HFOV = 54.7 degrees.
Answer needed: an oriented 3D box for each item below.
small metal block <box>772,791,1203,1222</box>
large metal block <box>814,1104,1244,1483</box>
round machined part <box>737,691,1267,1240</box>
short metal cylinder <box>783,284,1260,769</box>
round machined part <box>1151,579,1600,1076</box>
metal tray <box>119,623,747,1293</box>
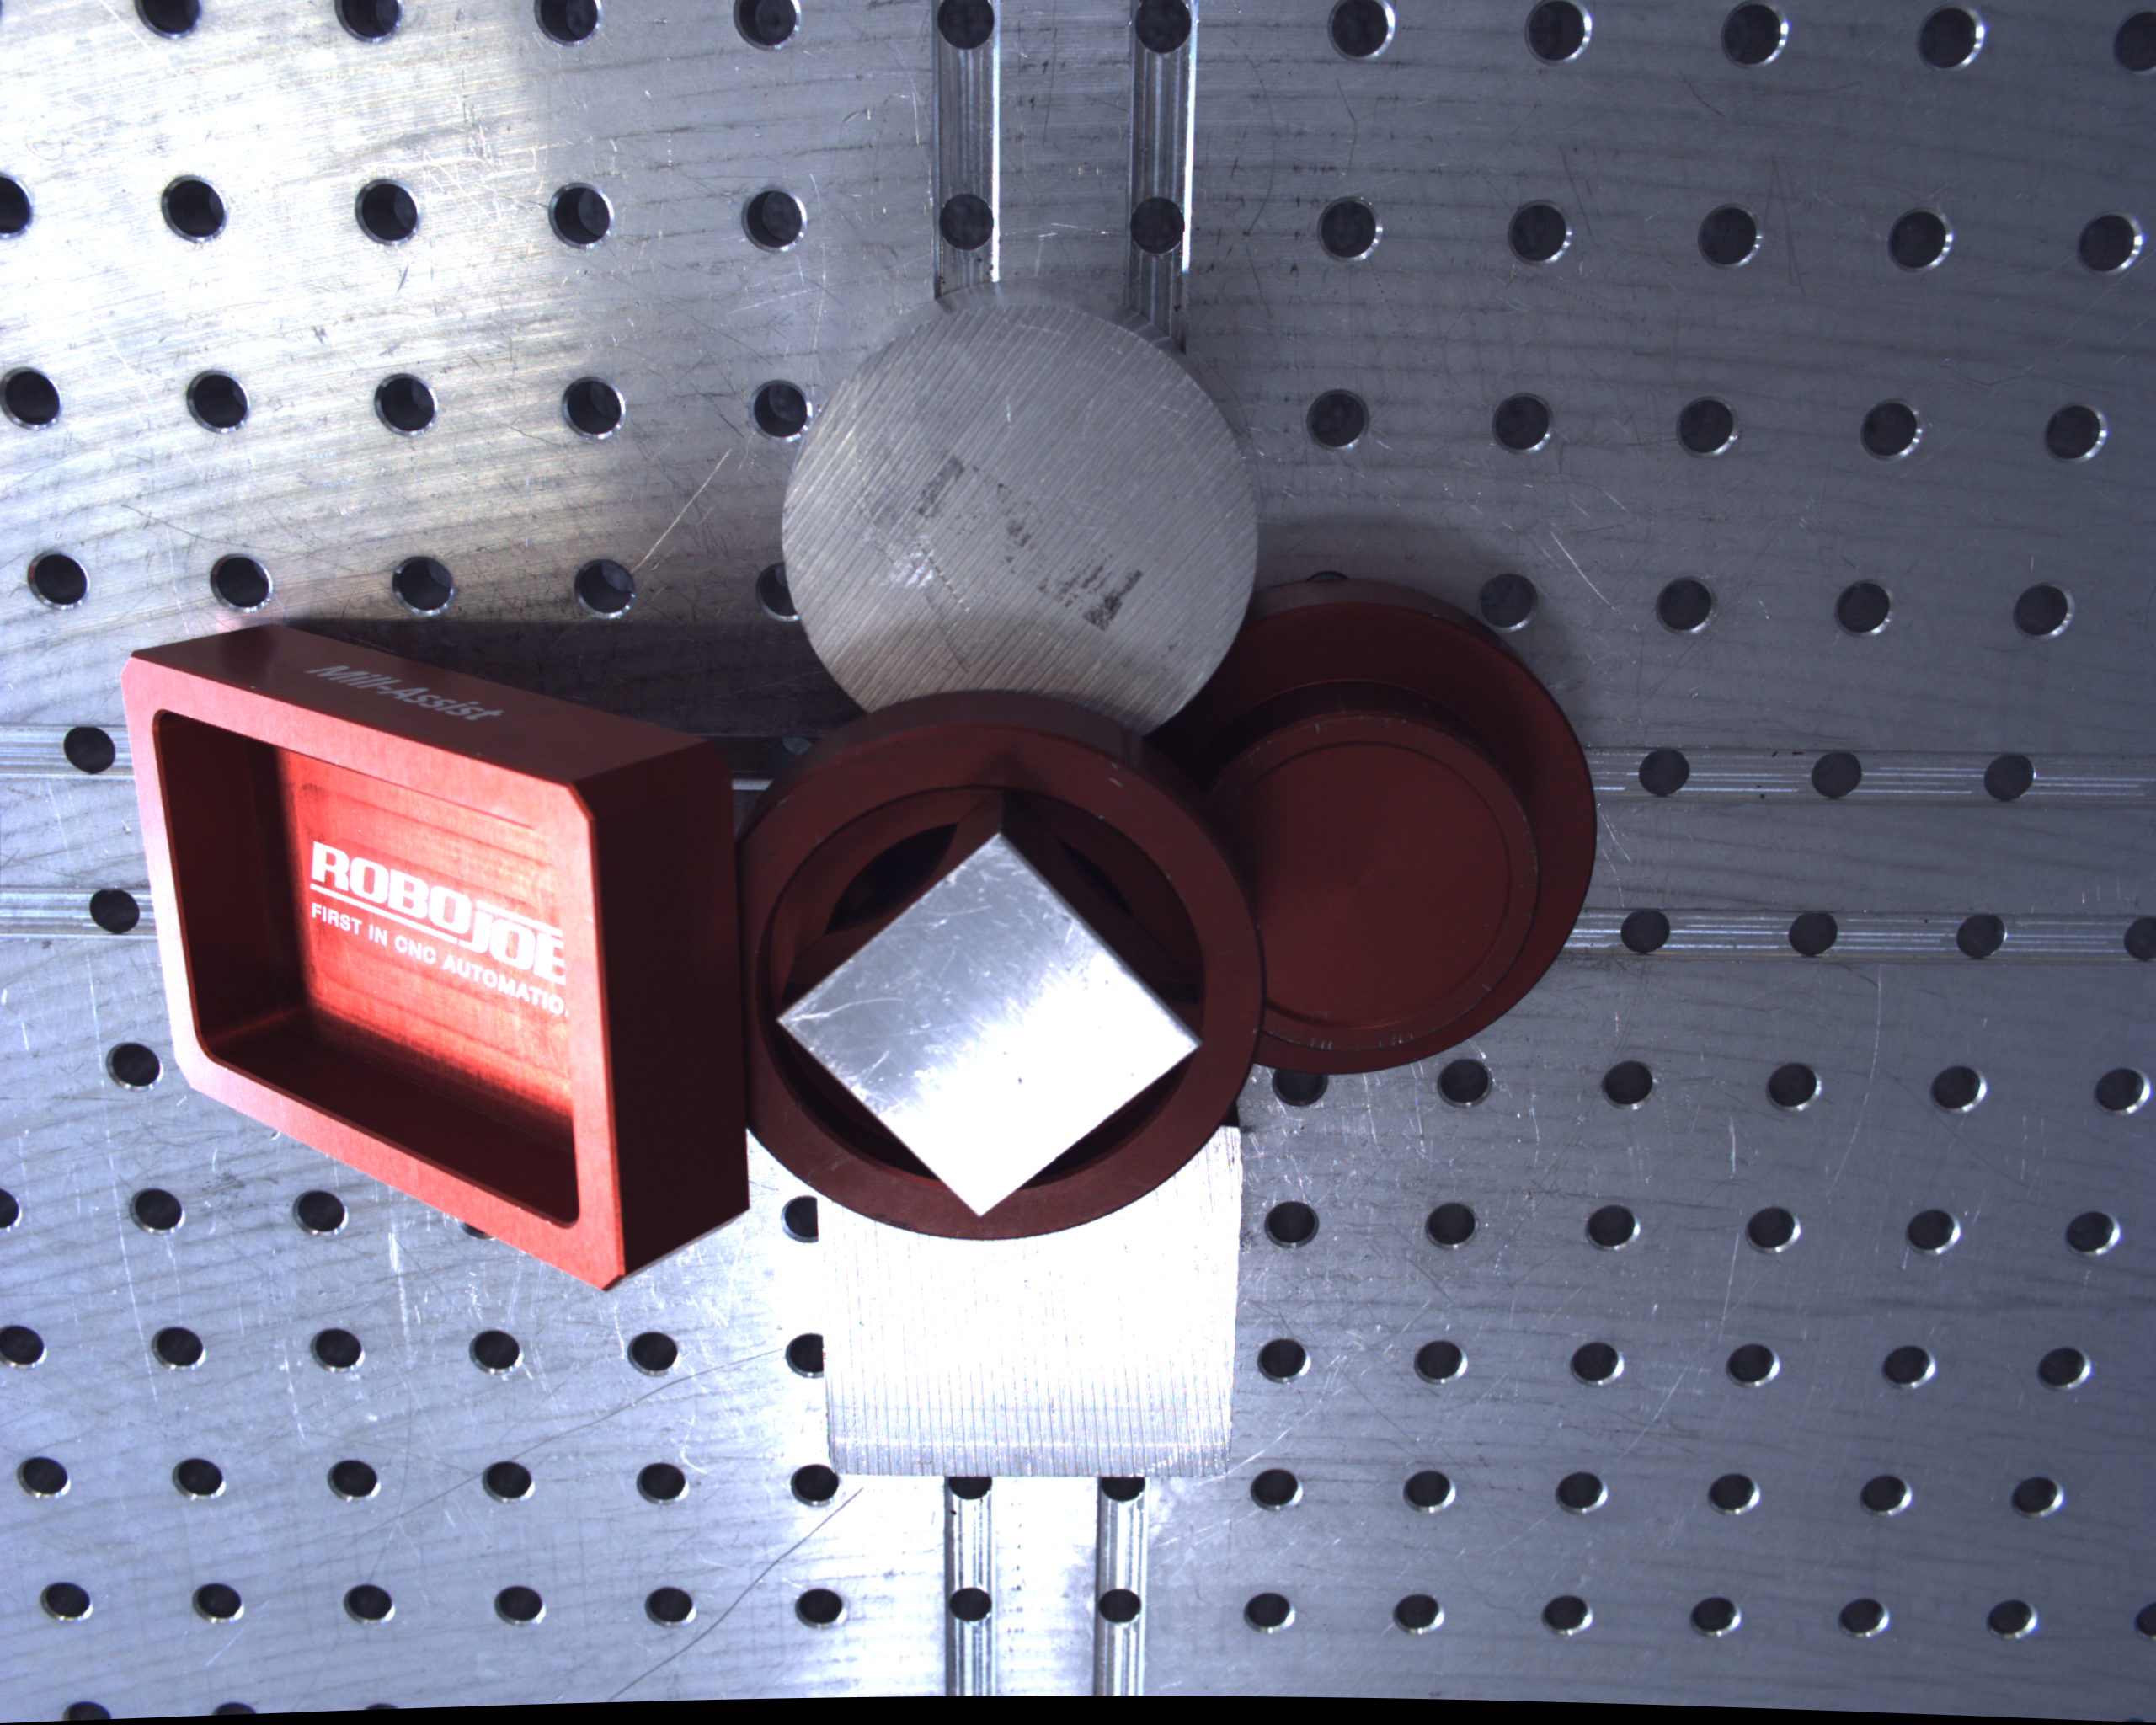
[{"bbox_3d":[-0.015,0.024,0.356,0.050,0.025,0.050,-40,106,13],"label":"small metal block"},{"bbox_3d":[-0.010,0.077,0.425,0.081,0.050,0.079,1,110,-1],"label":"large metal block"},{"bbox_3d":[-0.017,0.016,0.379,0.099,0.042,0.097,0,110,0],"label":"round machined part"},{"bbox_3d":[-0.010,-0.062,0.376,0.081,0.050,0.079,0,110,0],"label":"short metal cylinder"},{"bbox_3d":[0.052,-0.002,0.402,0.099,0.042,0.097,0,110,0],"label":"round machined part"},{"bbox_3d":[-0.118,0.013,0.376,0.130,0.030,0.089,15,115,34],"label":"metal tray"}]
